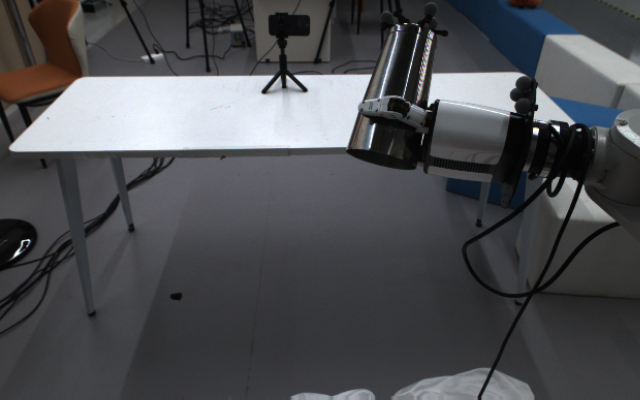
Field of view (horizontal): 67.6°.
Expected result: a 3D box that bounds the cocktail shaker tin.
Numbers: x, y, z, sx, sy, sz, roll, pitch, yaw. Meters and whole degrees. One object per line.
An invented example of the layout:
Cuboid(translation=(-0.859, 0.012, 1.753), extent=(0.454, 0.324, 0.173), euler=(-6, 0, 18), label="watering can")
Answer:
Cuboid(translation=(0.099, -0.134, 0.626), extent=(0.093, 0.170, 0.093), euler=(15, -4, 1), label="cocktail shaker tin")
